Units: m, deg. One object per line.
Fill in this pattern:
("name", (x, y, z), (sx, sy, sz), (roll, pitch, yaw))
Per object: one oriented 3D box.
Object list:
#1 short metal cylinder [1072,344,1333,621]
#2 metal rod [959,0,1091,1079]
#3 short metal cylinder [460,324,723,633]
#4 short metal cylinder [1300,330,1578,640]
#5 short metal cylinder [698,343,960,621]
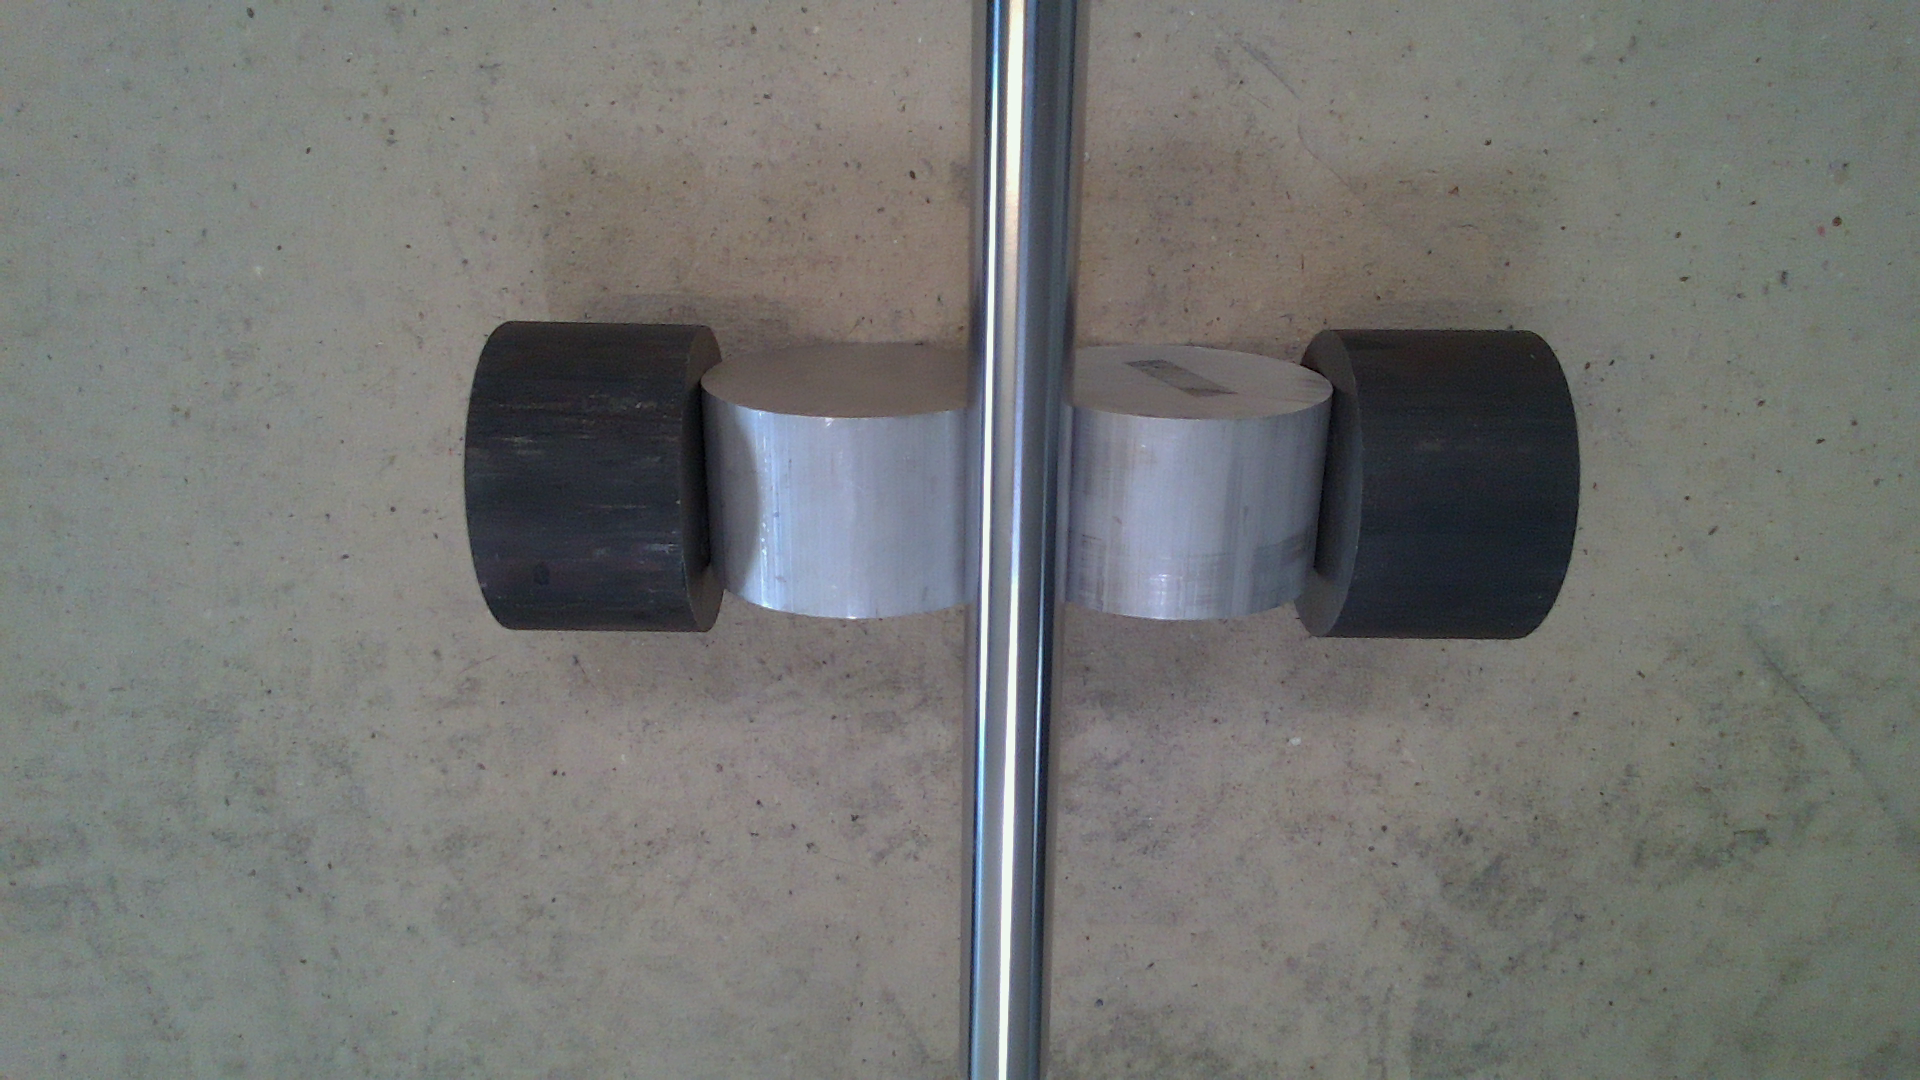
("short metal cylinder", (0.053, -0.018, 0.358), (0.080, 0.080, 0.050), (1, 110, 0))
("metal rod", (0.014, 0.006, 0.331), (0.025, 0.025, 0.300), (1, 110, 0))
("short metal cylinder", (-0.091, -0.016, 0.358), (0.050, 0.080, 0.080), (1, 110, 0))
("short metal cylinder", (0.119, -0.014, 0.360), (0.050, 0.080, 0.080), (1, 110, 0))
("short metal cylinder", (-0.026, -0.018, 0.358), (0.080, 0.080, 0.050), (1, 110, 0))
